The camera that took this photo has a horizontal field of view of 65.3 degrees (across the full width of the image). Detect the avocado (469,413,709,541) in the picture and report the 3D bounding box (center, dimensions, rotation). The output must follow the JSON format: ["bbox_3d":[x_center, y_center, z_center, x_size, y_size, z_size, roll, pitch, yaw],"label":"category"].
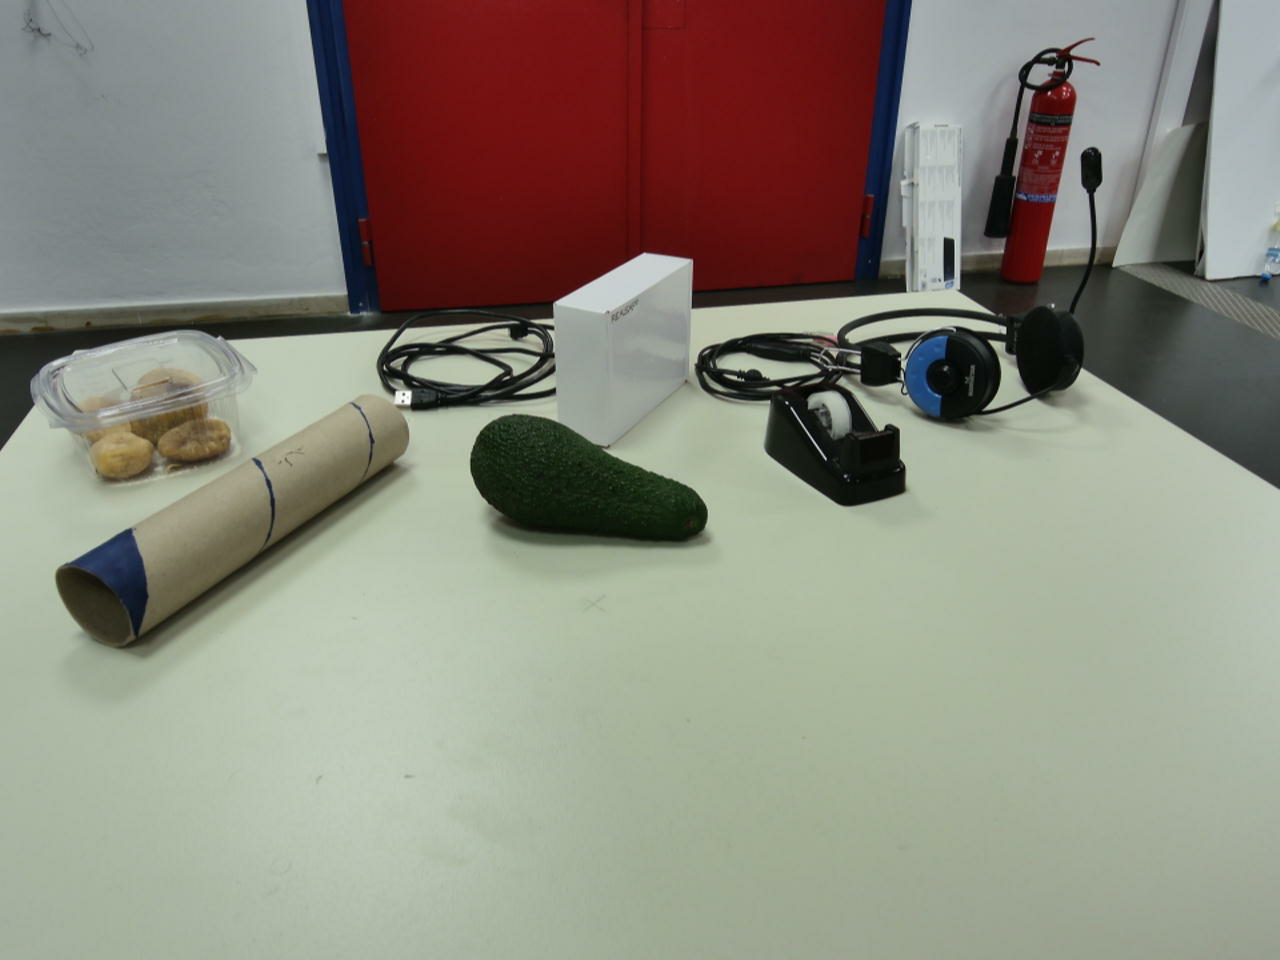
[{"bbox_3d":[-0.028,-0.004,0.575,0.141,0.067,0.063,1,27,2],"label":"avocado"}]
